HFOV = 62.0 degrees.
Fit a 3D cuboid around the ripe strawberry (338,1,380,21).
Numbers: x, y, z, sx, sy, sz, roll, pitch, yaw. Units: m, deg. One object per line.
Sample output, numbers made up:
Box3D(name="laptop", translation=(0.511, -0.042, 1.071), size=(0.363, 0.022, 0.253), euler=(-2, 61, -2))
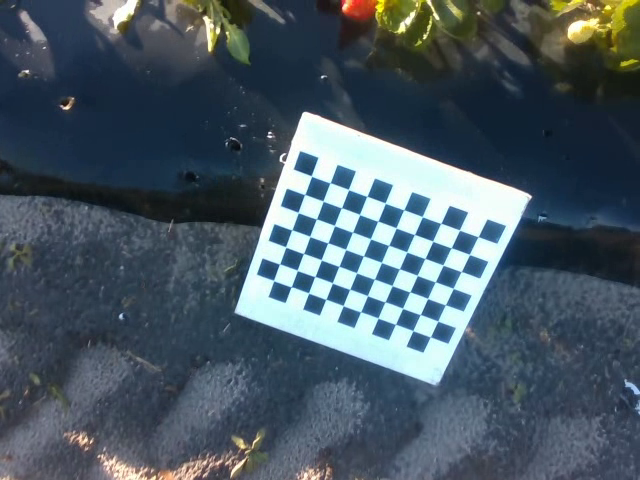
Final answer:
Box3D(name="ripe strawberry", translation=(0.034, -0.244, 0.544), size=(0.040, 0.038, 0.055), euler=(12, 23, 29))
